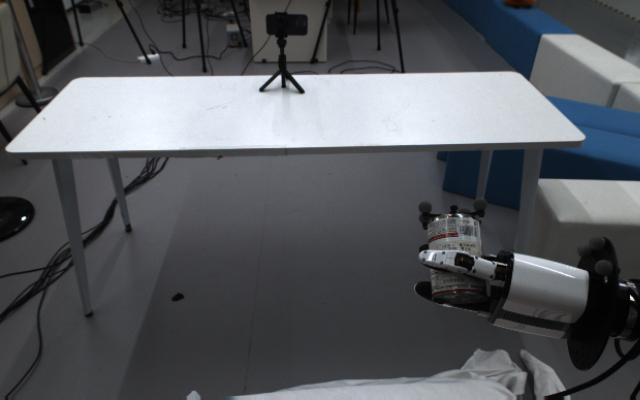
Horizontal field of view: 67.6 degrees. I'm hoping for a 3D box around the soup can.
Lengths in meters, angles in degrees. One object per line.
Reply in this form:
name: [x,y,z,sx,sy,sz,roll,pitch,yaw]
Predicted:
soup can: [0.175,0.076,0.616,0.067,0.067,0.101,1,68,-1]
